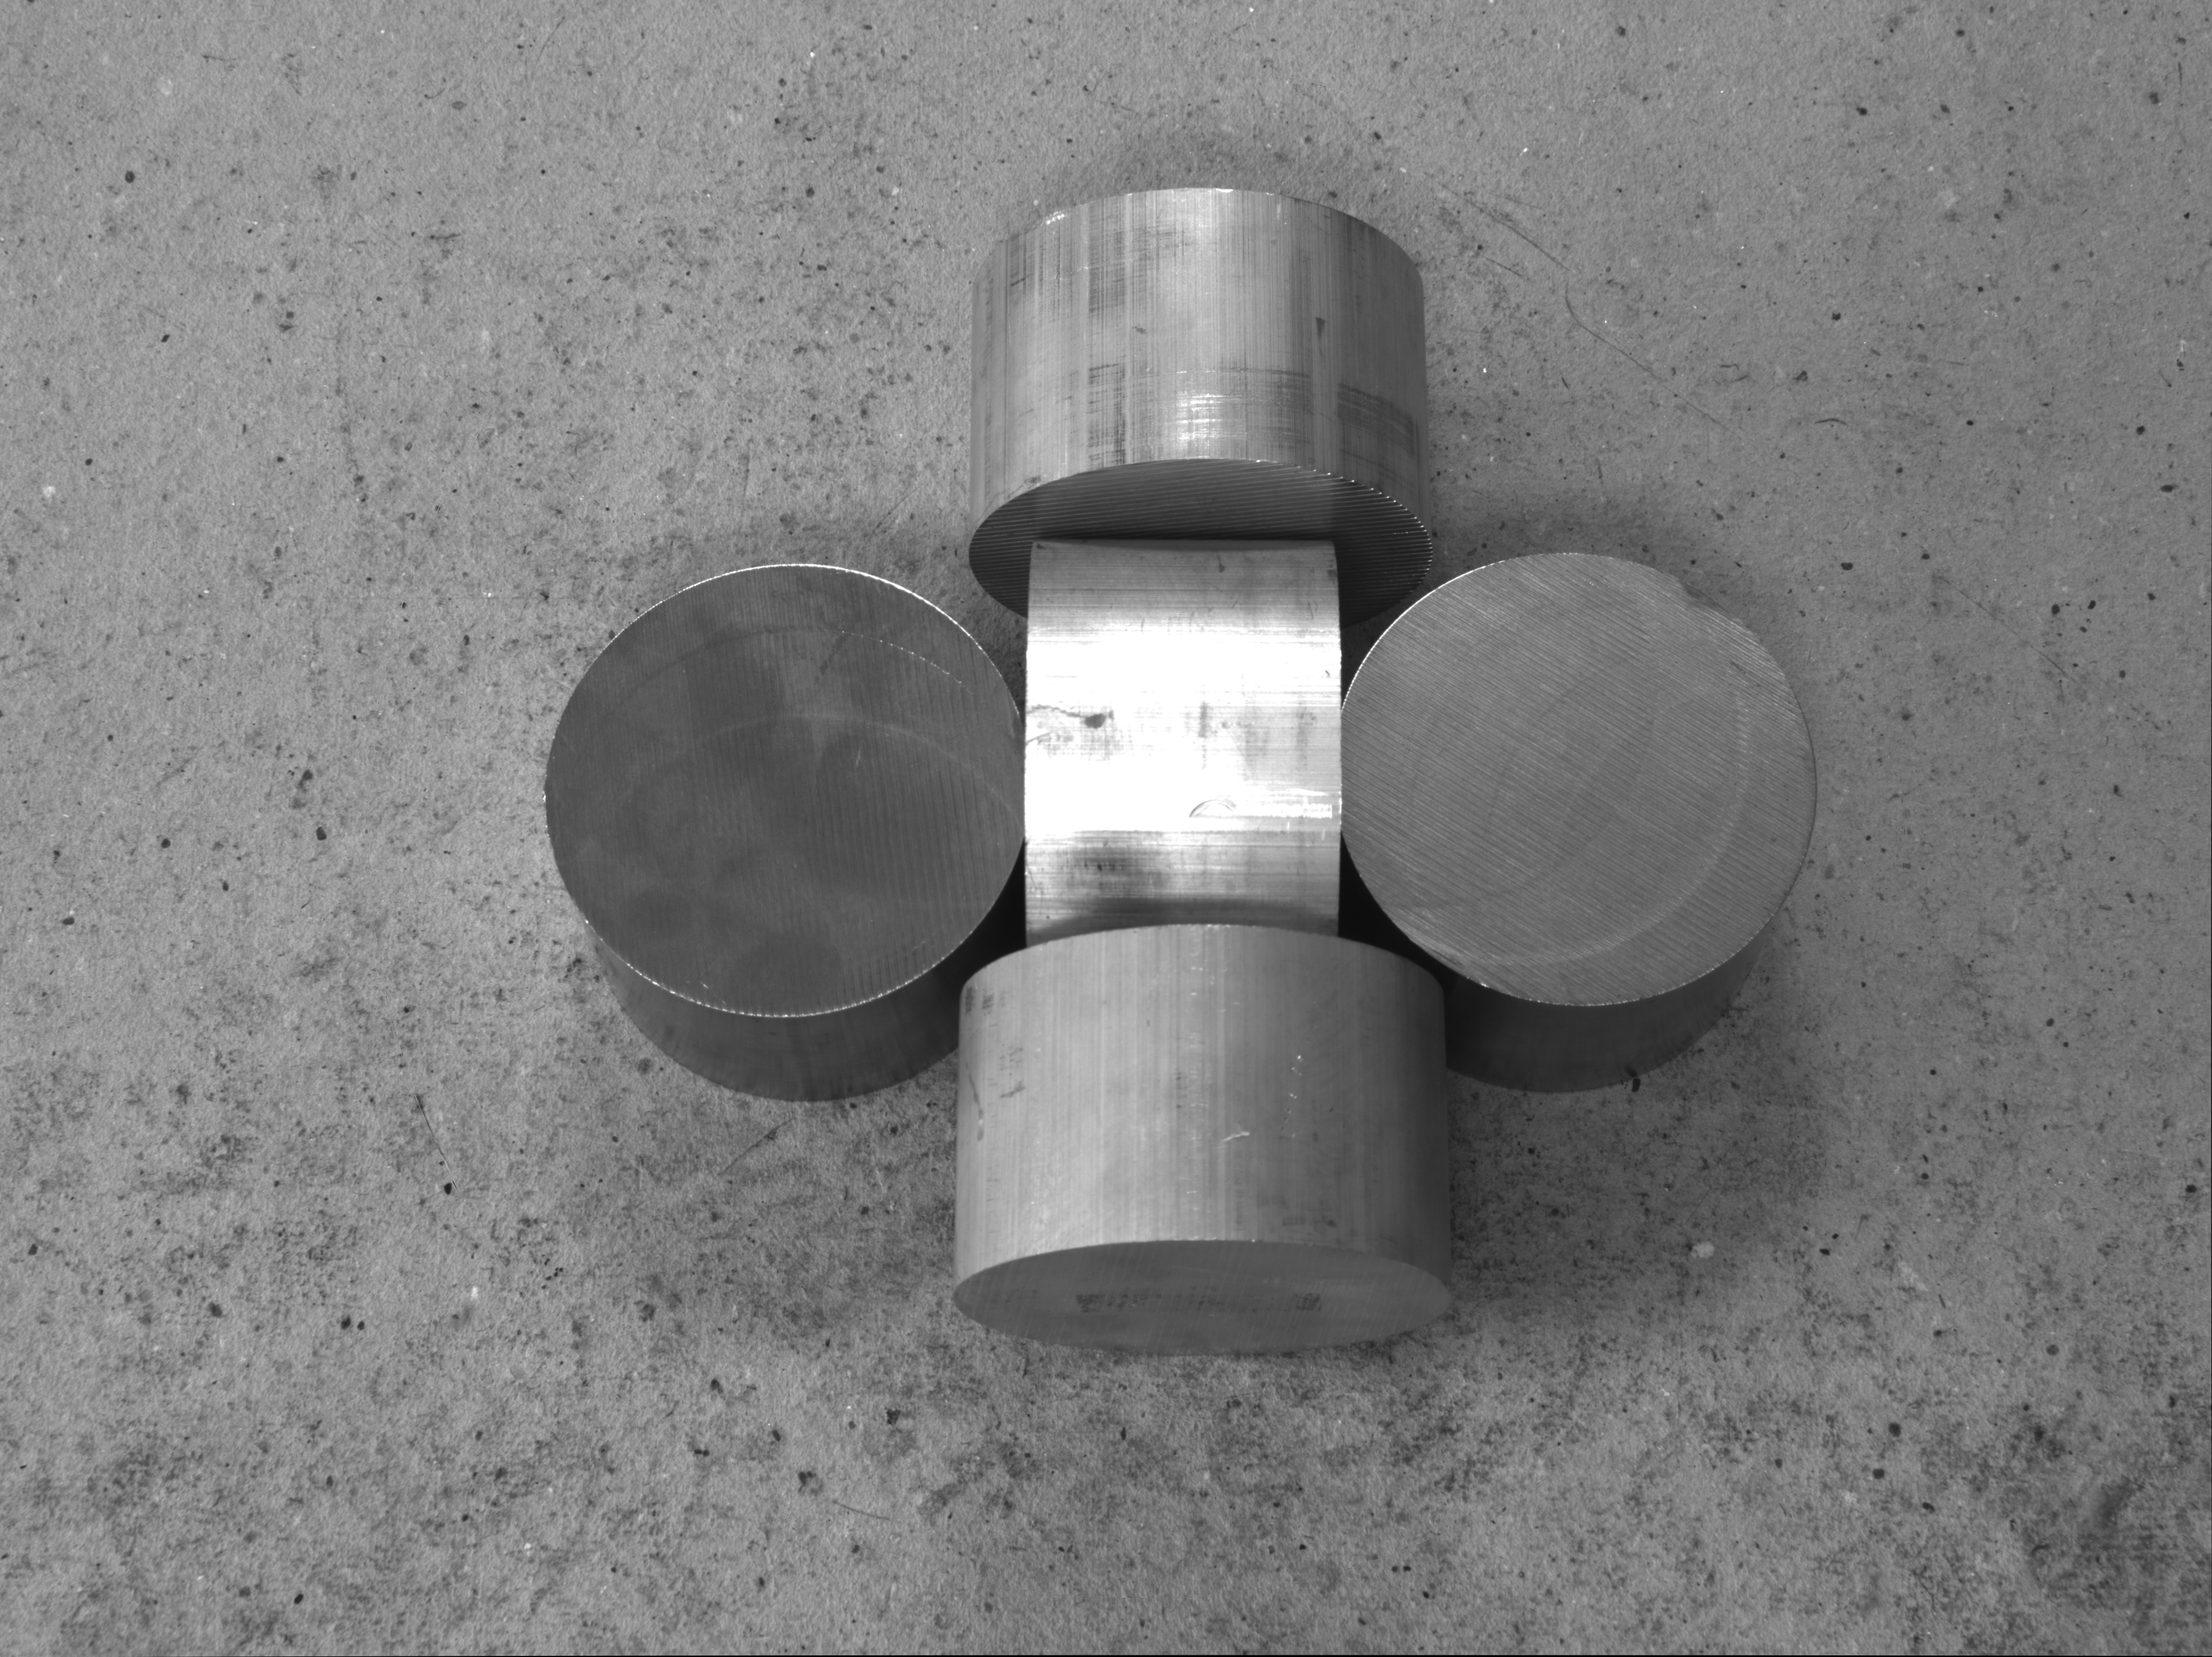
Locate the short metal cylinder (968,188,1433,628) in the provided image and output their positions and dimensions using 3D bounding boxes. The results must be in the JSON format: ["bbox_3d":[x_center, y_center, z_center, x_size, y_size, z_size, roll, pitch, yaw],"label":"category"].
[{"bbox_3d":[0.016,-0.070,0.642,0.080,0.080,0.050,0,70,0],"label":"short metal cylinder"}]

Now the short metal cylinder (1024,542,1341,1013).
[{"bbox_3d":[0.013,-0.008,0.619,0.050,0.080,0.080,0,70,1],"label":"short metal cylinder"}]

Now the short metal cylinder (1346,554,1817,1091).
[{"bbox_3d":[0.078,0.000,0.631,0.080,0.050,0.080,0,70,0],"label":"short metal cylinder"}]

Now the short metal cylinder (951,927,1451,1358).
[{"bbox_3d":[0.015,0.053,0.597,0.080,0.080,0.050,0,69,0],"label":"short metal cylinder"}]

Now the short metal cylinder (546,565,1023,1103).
[{"bbox_3d":[-0.053,0.002,0.631,0.080,0.050,0.080,0,69,-1],"label":"short metal cylinder"}]
